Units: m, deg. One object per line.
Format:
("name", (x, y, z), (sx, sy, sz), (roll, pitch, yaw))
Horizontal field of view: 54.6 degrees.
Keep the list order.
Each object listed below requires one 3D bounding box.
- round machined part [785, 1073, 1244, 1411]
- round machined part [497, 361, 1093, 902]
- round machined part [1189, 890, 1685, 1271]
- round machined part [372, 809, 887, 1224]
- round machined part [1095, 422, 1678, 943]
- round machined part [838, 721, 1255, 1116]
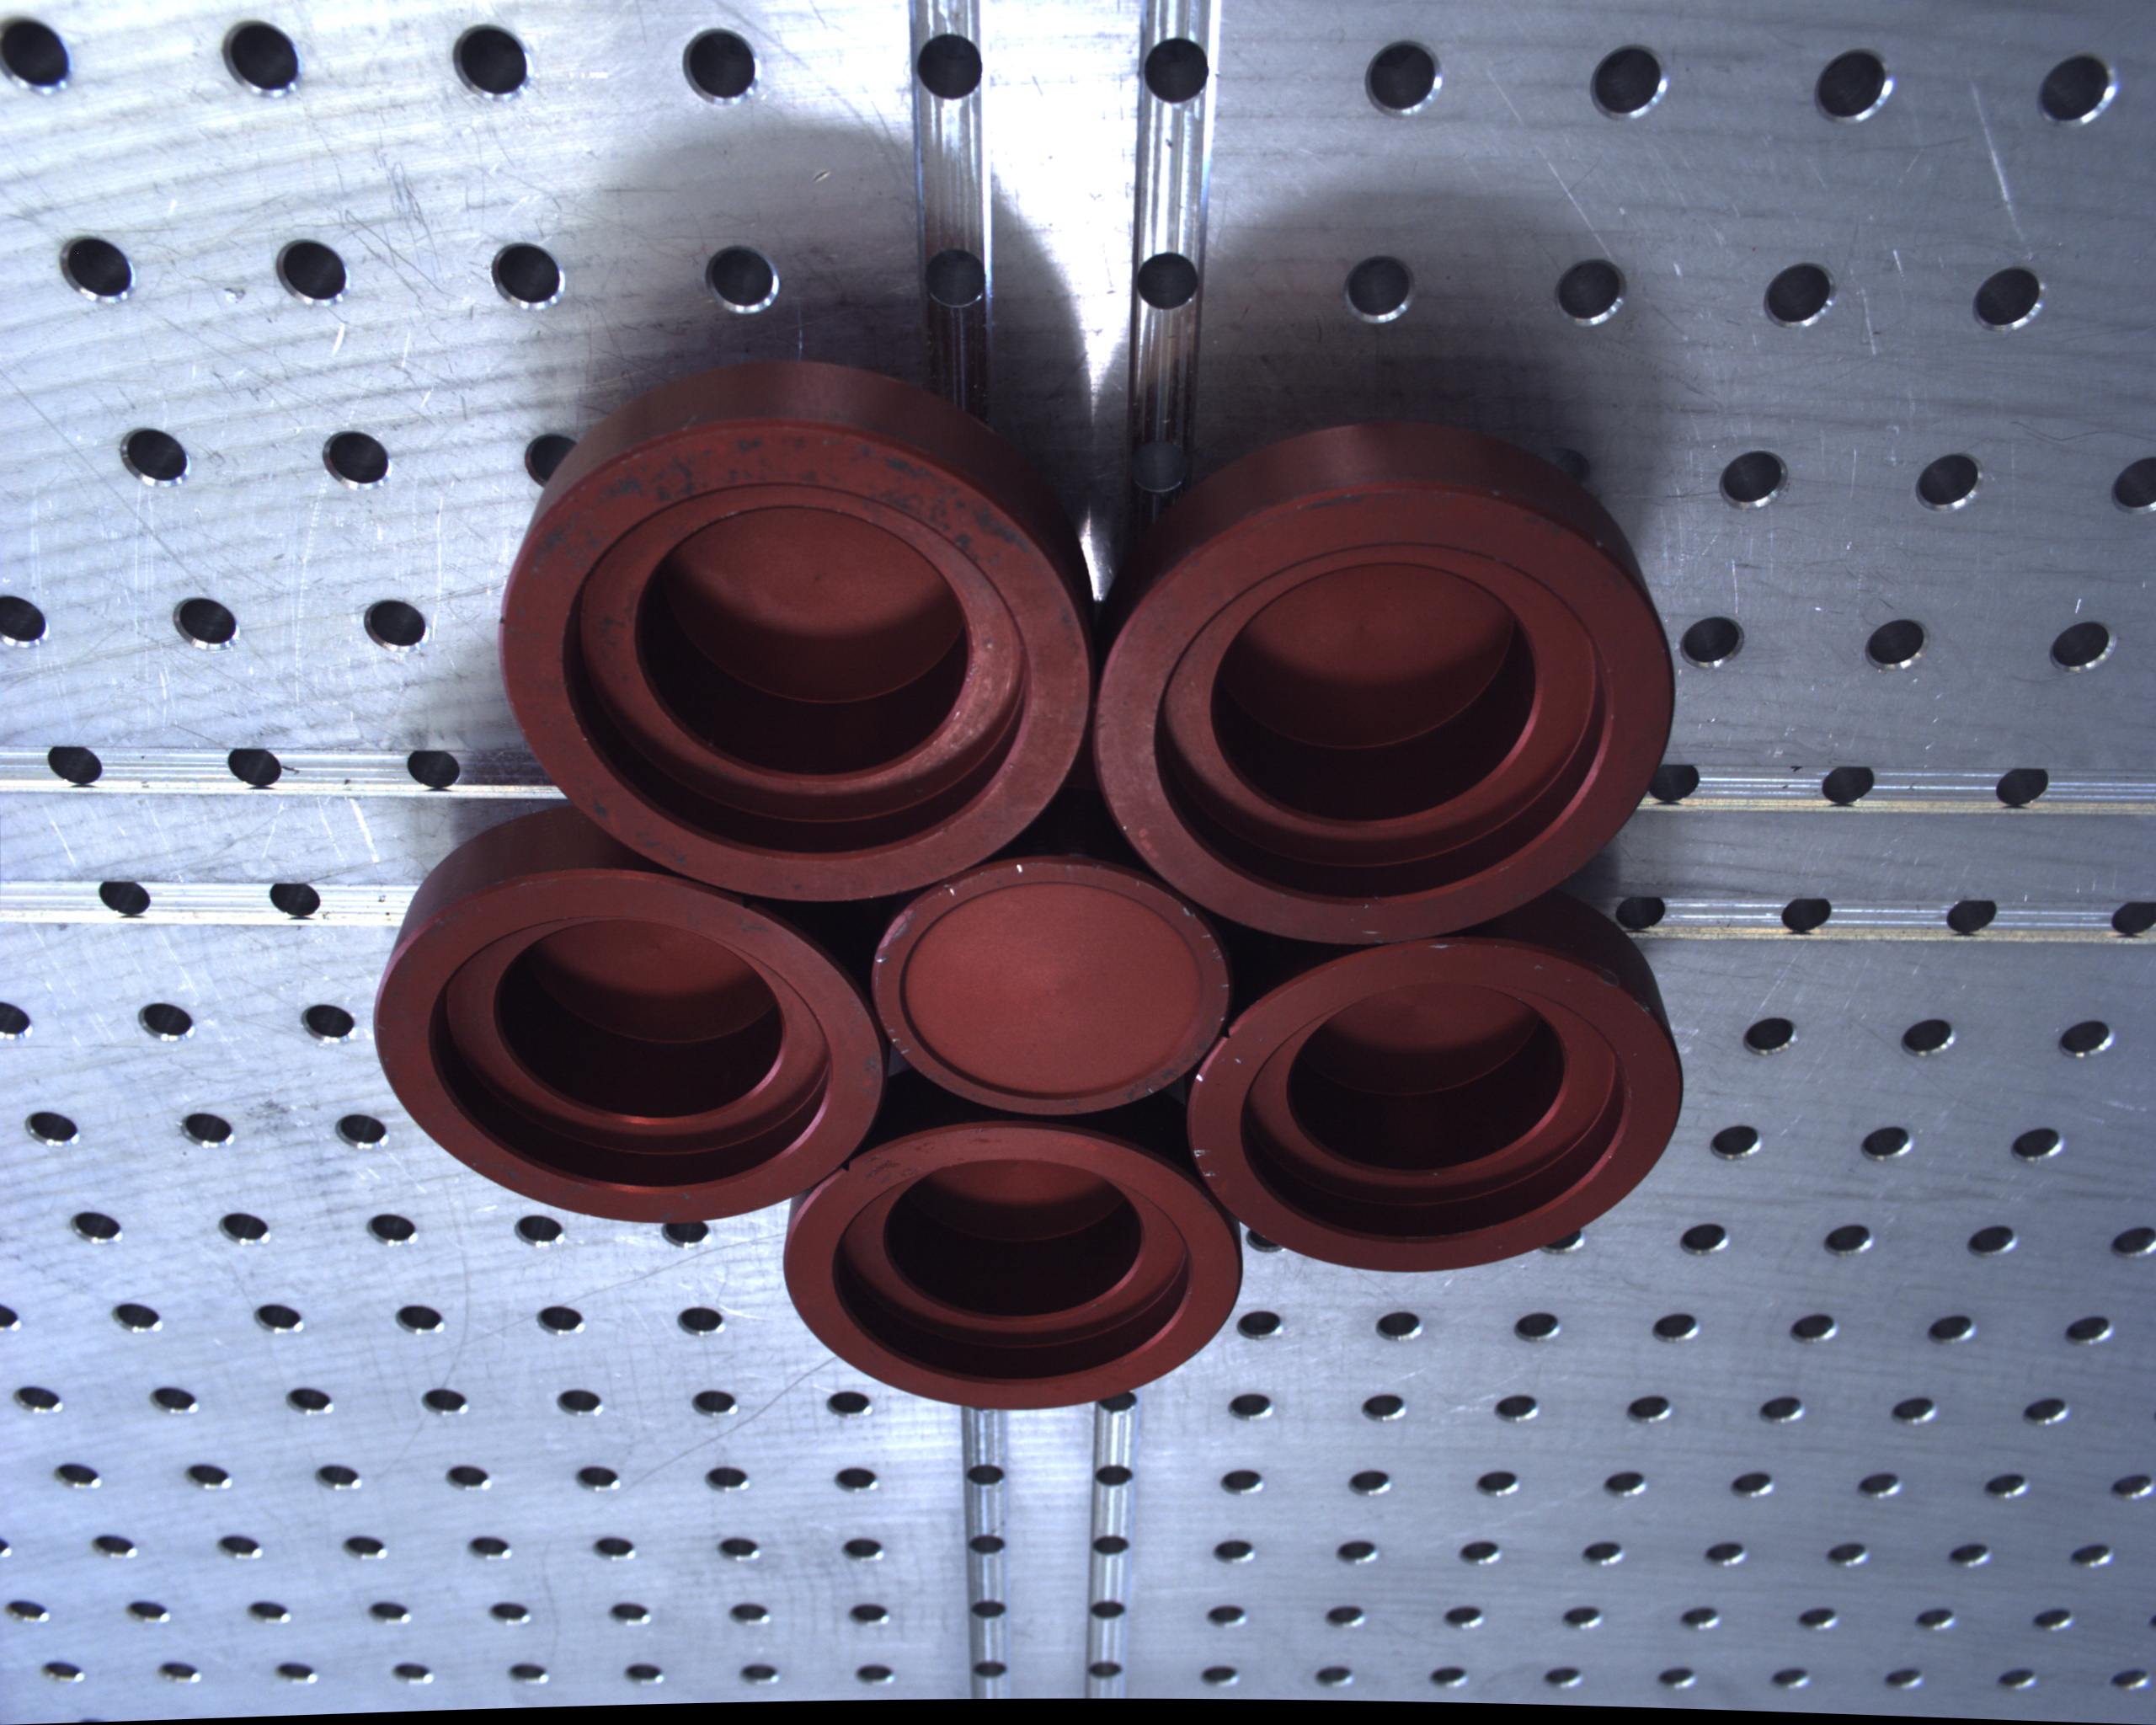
("round machined part", (-0.014, 0.076, 0.464), (0.099, 0.042, 0.097), (0, 130, 0))
("round machined part", (-0.047, -0.043, 0.363), (0.099, 0.042, 0.097), (0, 130, 0))
("round machined part", (0.072, 0.038, 0.433), (0.099, 0.042, 0.097), (0, 130, 0))
("round machined part", (-0.087, 0.026, 0.421), (0.099, 0.042, 0.097), (0, 130, 0))
("round machined part", (0.052, -0.035, 0.370), (0.099, 0.042, 0.097), (0, 130, 0))
("round machined part", (-0.005, 0.012, 0.410), (0.099, 0.042, 0.097), (0, 130, 0))
